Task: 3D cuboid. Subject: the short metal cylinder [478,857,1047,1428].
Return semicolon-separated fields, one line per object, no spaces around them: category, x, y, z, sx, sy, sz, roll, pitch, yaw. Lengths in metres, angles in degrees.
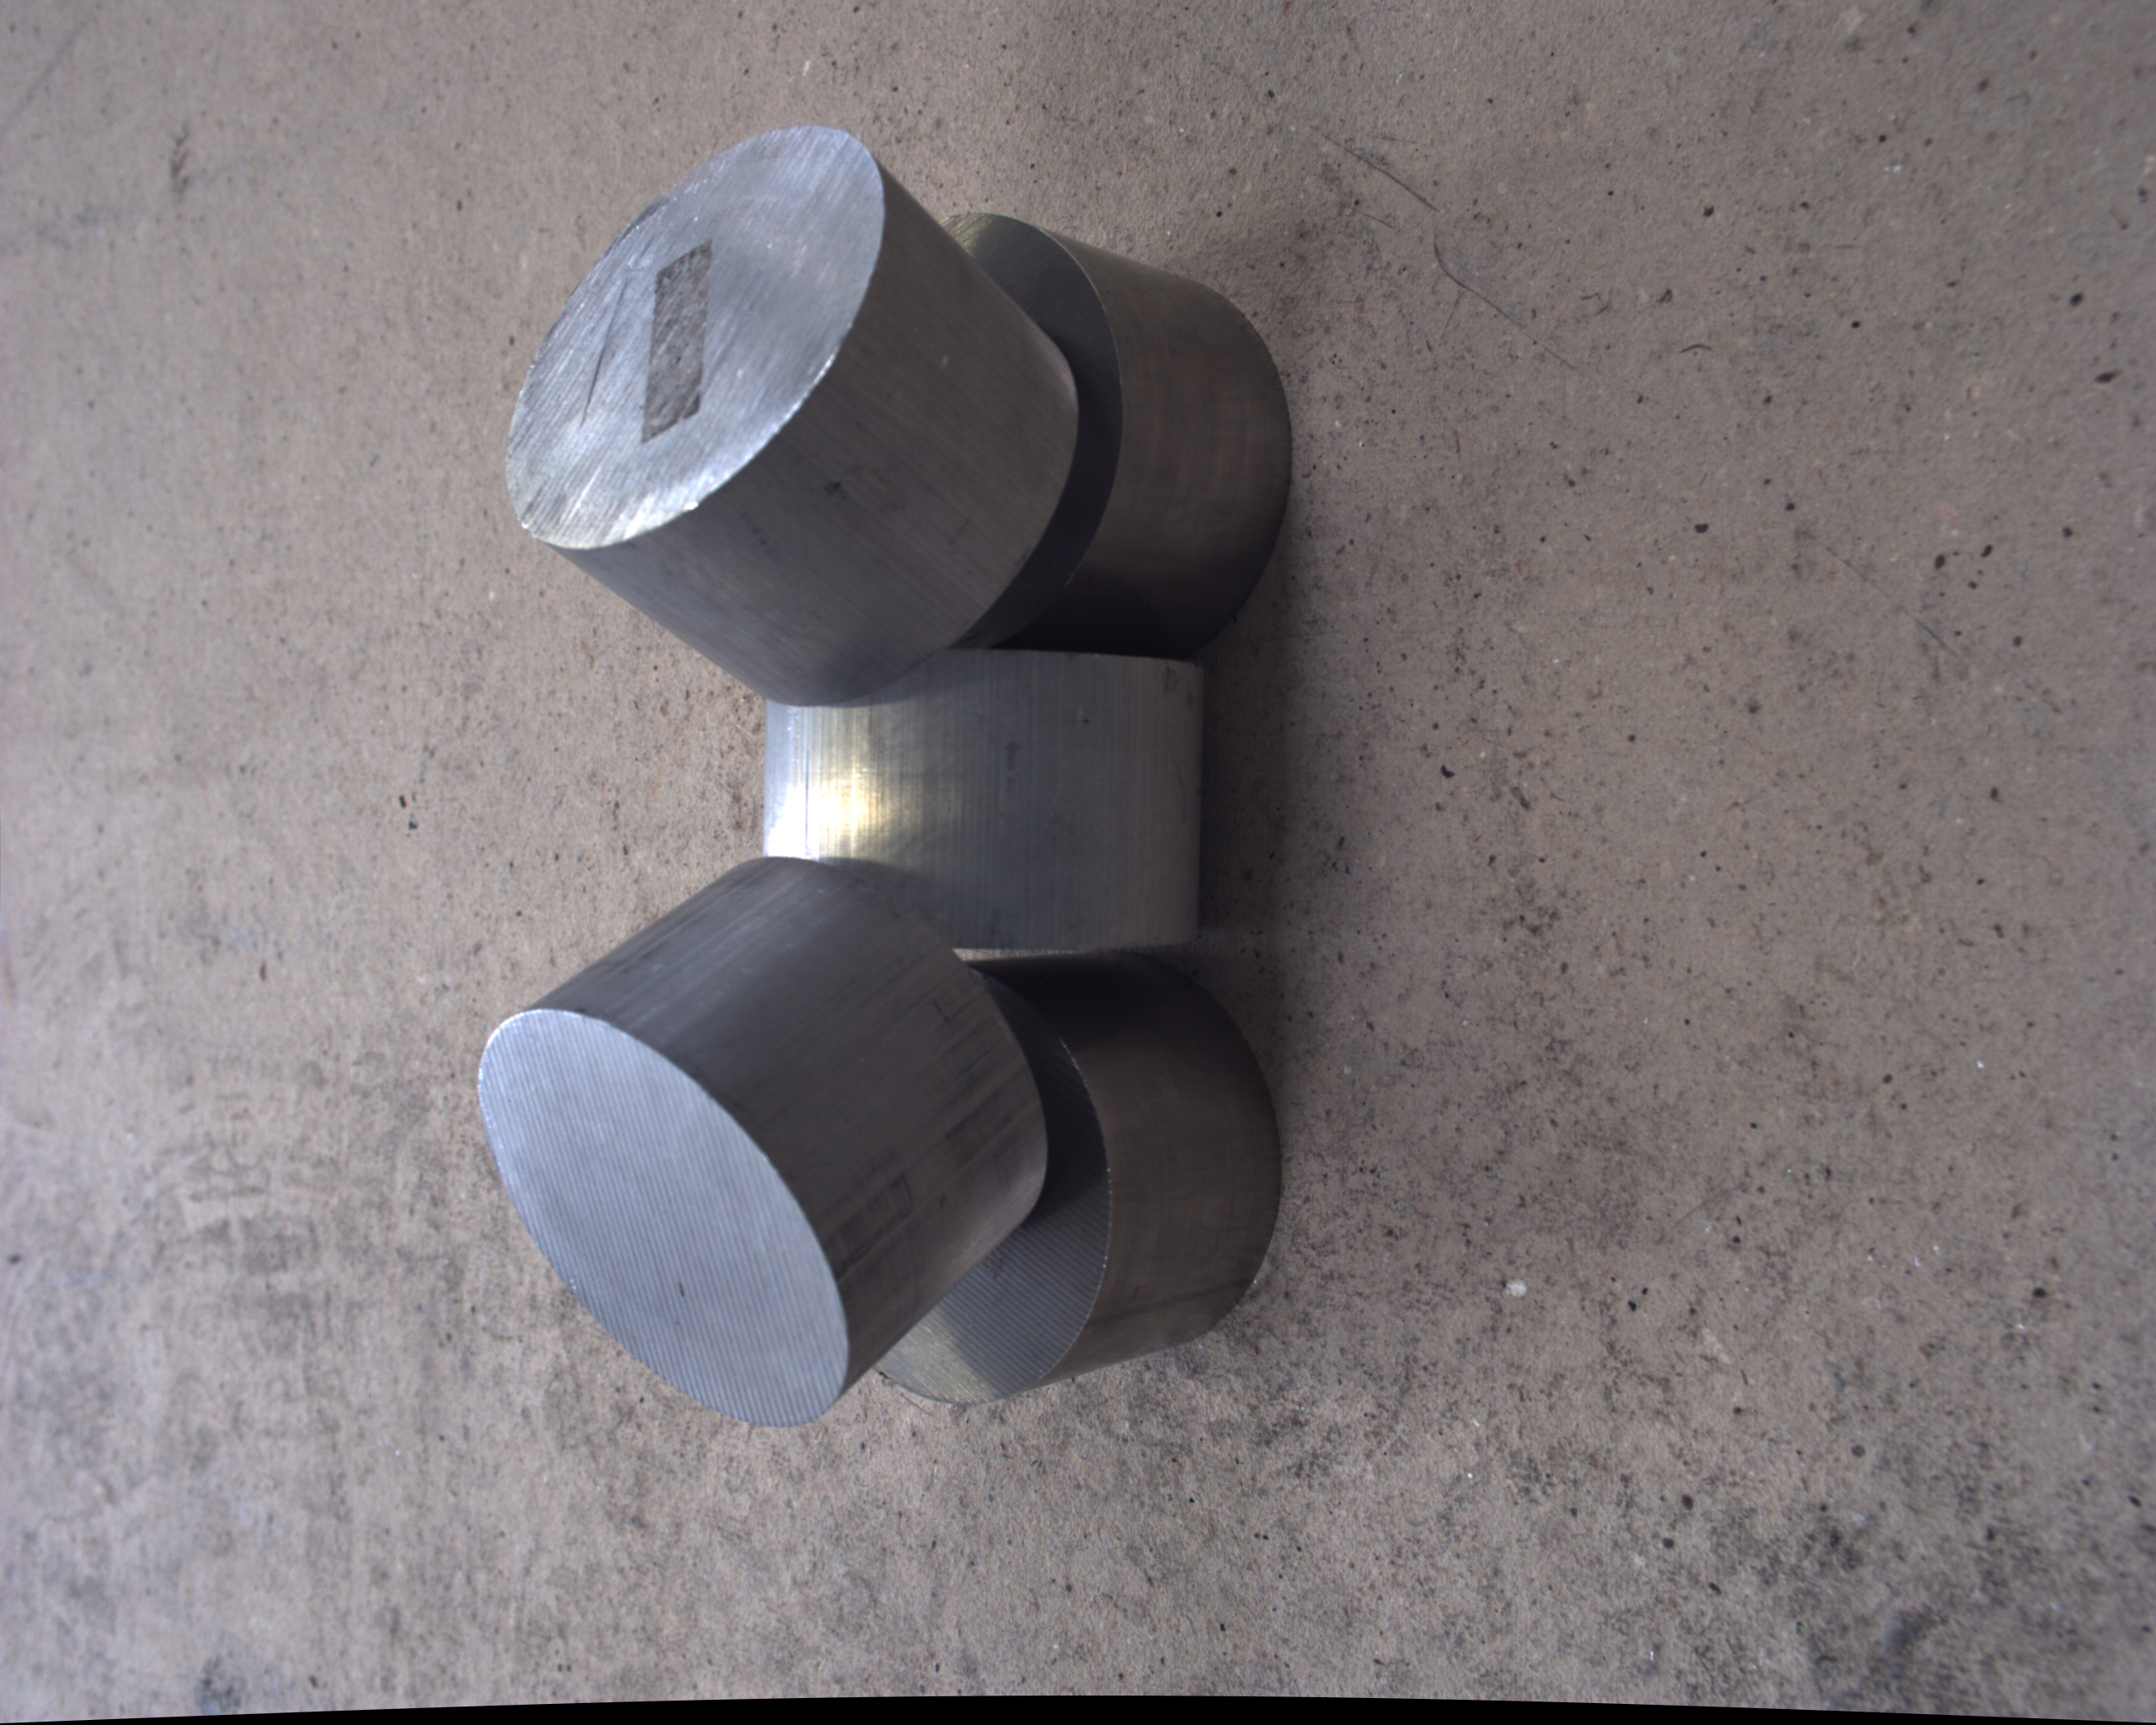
short metal cylinder;-0.052;0.046;0.347;0.080;0.050;0.079;22;131;28

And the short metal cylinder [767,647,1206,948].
short metal cylinder;-0.017;-0.012;0.386;0.080;0.081;0.050;2;92;40

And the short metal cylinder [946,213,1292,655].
short metal cylinder;-0.007;-0.077;0.397;0.080;0.050;0.080;0;90;40

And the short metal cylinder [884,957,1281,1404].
short metal cylinder;-0.009;0.058;0.398;0.080;0.050;0.080;0;90;40

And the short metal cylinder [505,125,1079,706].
short metal cylinder;-0.047;-0.073;0.345;0.080;0.050;0.080;-19;54;29
